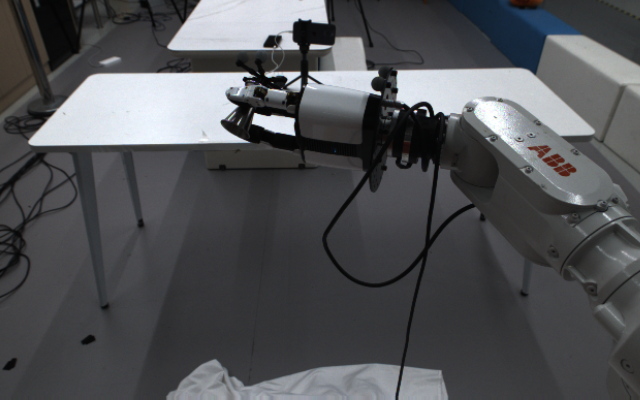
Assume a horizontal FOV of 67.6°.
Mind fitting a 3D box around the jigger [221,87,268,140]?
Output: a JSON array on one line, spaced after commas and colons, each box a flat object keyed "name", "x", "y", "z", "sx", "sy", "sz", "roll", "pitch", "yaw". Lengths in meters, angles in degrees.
[{"name": "jigger", "x": -0.102, "y": -0.126, "z": 0.657, "sx": 0.043, "sy": 0.043, "sz": 0.071, "roll": 20, "pitch": 74, "yaw": 24}]
